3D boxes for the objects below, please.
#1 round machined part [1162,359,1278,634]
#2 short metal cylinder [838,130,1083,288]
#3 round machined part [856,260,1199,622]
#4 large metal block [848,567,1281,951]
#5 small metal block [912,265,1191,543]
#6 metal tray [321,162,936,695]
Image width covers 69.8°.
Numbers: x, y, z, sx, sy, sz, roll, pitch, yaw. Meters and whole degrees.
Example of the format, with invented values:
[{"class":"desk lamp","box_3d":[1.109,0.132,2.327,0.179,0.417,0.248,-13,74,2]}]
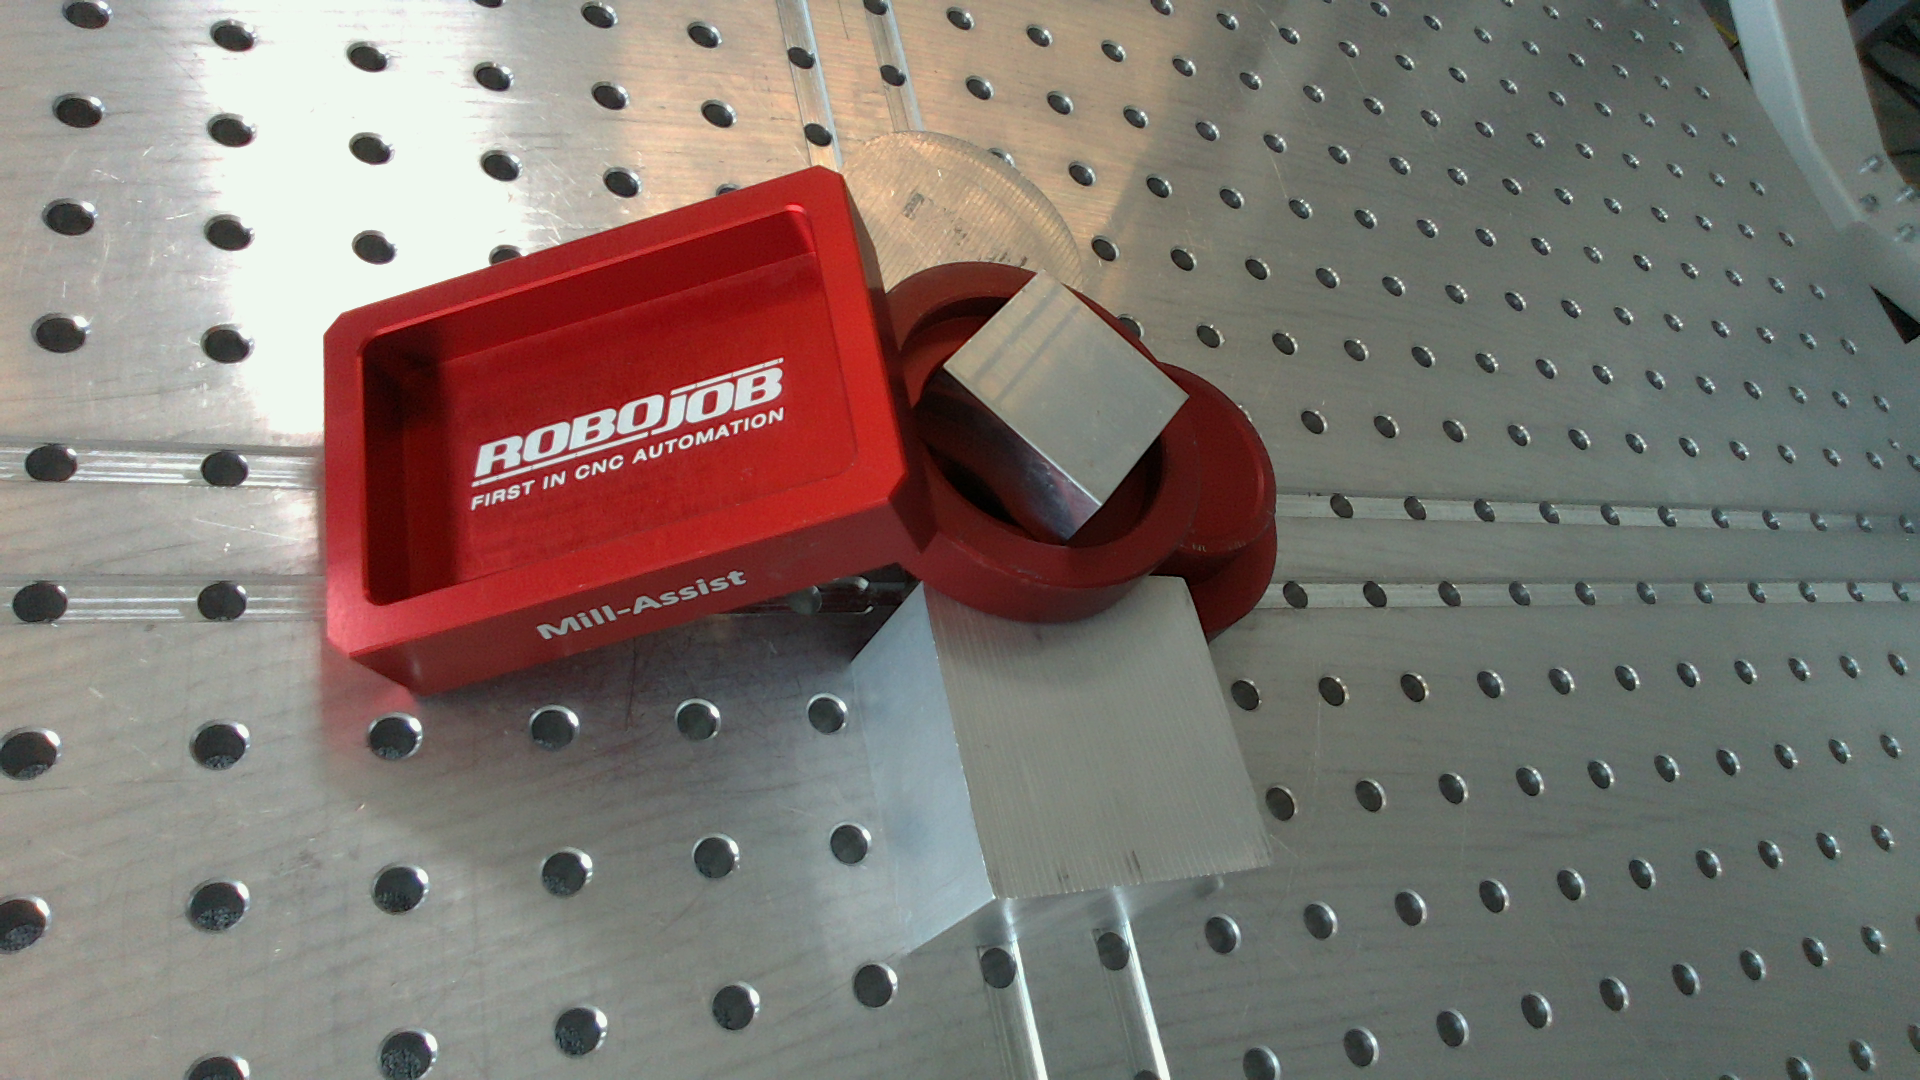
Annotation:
[{"class":"round machined part","box_3d":[0.057,-0.017,0.421,0.098,0.042,0.098,14,56,-21]},{"class":"short metal cylinder","box_3d":[-0.010,-0.076,0.417,0.080,0.050,0.080,14,56,-21]},{"class":"round machined part","box_3d":[0.011,-0.022,0.364,0.098,0.042,0.098,14,56,-21]},{"class":"large metal block","box_3d":[0.024,0.054,0.353,0.080,0.050,0.080,1,61,-28]},{"class":"small metal block","box_3d":[0.022,-0.033,0.346,0.050,0.025,0.050,41,51,0]},{"class":"metal tray","box_3d":[-0.079,-0.026,0.317,0.130,0.030,0.090,-16,65,5]}]
